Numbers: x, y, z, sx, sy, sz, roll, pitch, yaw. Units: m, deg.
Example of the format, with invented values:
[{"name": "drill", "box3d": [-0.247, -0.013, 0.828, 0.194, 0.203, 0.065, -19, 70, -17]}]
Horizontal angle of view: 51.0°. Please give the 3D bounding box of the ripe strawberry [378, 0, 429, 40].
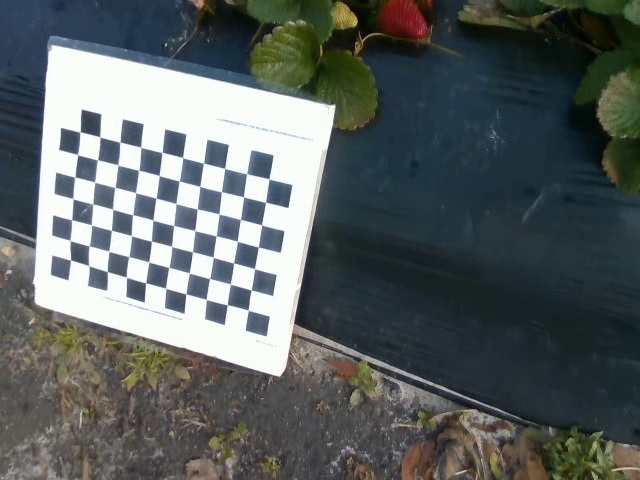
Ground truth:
[{"name": "ripe strawberry", "box3d": [0.071, -0.196, 0.571, 0.051, 0.064, 0.043, -45, -2, 20]}]
